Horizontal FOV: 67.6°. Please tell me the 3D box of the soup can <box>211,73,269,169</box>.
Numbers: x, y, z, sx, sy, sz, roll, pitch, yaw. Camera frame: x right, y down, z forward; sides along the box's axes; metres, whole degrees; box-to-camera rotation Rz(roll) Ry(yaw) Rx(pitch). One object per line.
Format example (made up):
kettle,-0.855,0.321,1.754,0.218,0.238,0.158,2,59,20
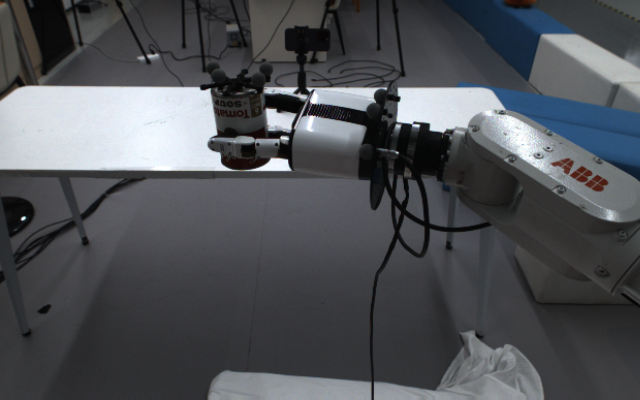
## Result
soup can,-0.100,-0.099,0.628,0.067,0.101,0.067,-2,34,1
